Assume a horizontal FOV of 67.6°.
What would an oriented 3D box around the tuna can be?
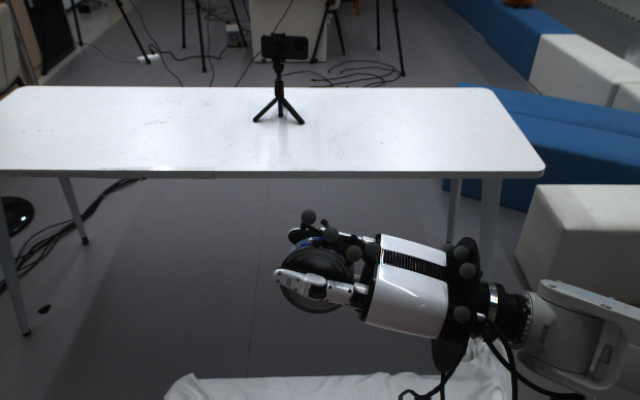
[{"bbox_3d":[0.000,0.085,0.564,0.085,0.085,0.034,7,17,7],"label":"tuna can"}]
